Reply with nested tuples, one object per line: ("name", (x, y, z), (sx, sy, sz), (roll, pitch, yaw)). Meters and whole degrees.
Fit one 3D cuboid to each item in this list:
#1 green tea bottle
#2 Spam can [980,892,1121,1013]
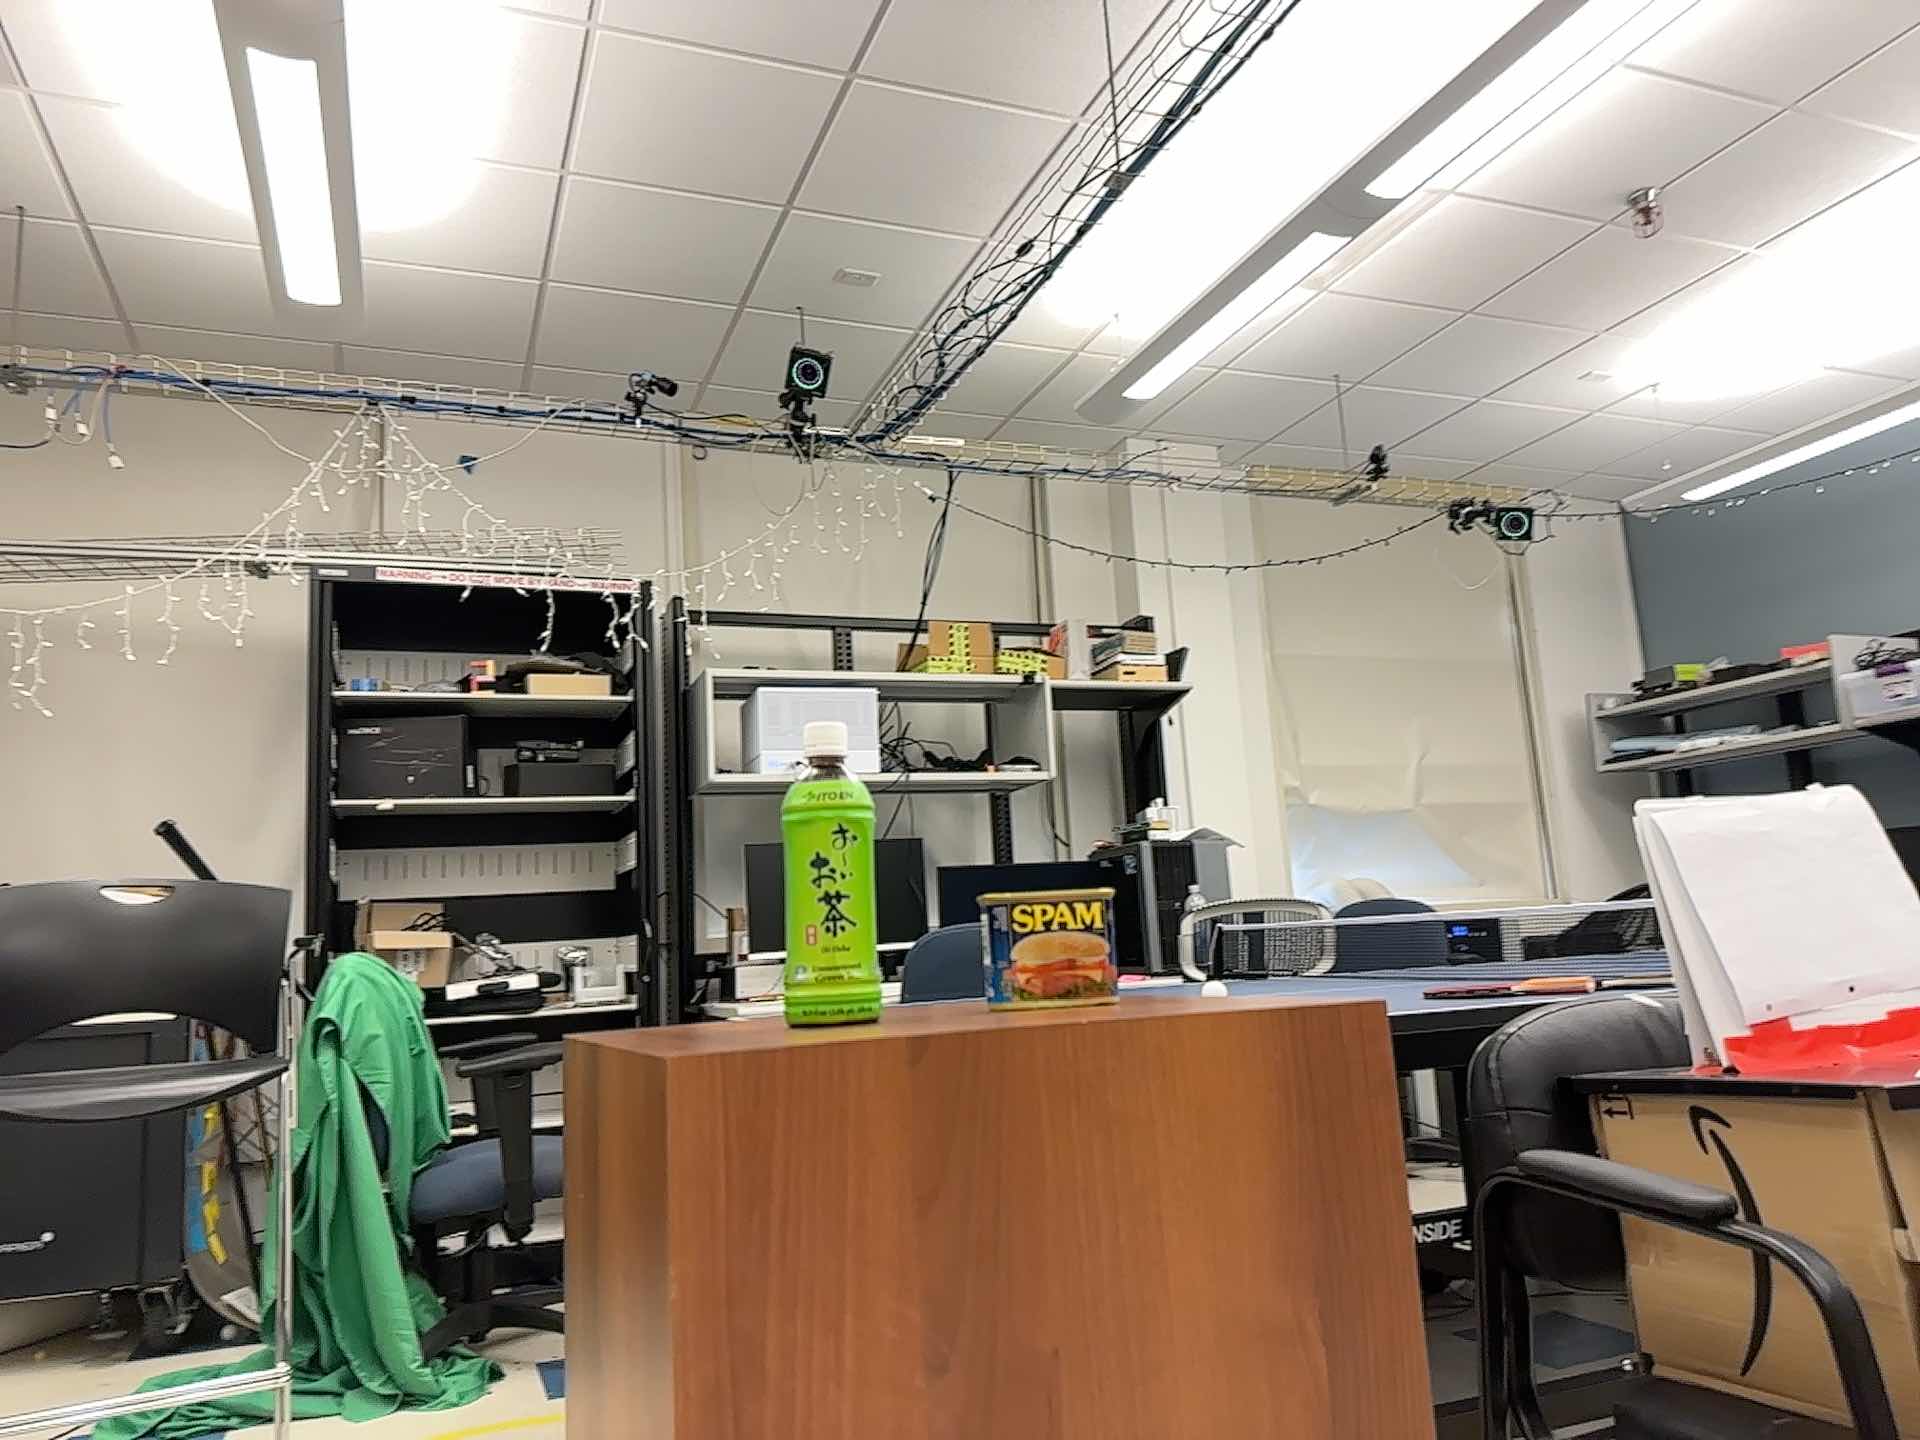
("green tea bottle", (-0.092, 0.106, 0.952), (0.073, 0.212, 0.073), (-5, -11, -1))
("Spam can", (0.069, 0.176, 1.021), (0.100, 0.083, 0.056), (0, -11, -13))
